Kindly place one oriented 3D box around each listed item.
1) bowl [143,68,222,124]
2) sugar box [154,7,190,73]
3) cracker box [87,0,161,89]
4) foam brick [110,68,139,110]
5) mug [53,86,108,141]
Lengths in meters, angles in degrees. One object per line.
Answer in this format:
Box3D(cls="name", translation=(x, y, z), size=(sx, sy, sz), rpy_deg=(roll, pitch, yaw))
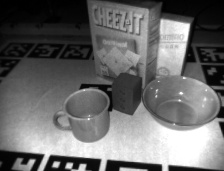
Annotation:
Box3D(cls="bowl", translation=(0.148, 0.029, 0.468), size=(0.161, 0.055, 0.161), rpy_deg=(-2, 41, 3))
Box3D(cls="sugar box", translation=(0.137, -0.104, 0.548), size=(0.092, 0.177, 0.045), rpy_deg=(16, 45, 24))
Box3D(cls="cracker box", translation=(0.024, -0.112, 0.540), size=(0.162, 0.215, 0.072), rpy_deg=(24, 46, 29))
Box3D(cls="foam brick", translation=(0.032, 0.008, 0.508), size=(0.052, 0.078, 0.051), rpy_deg=(12, 42, 20))
Box3D(cls="mug", translation=(-0.063, 0.058, 0.442), size=(0.117, 0.082, 0.093), rpy_deg=(-5, 32, 2))
